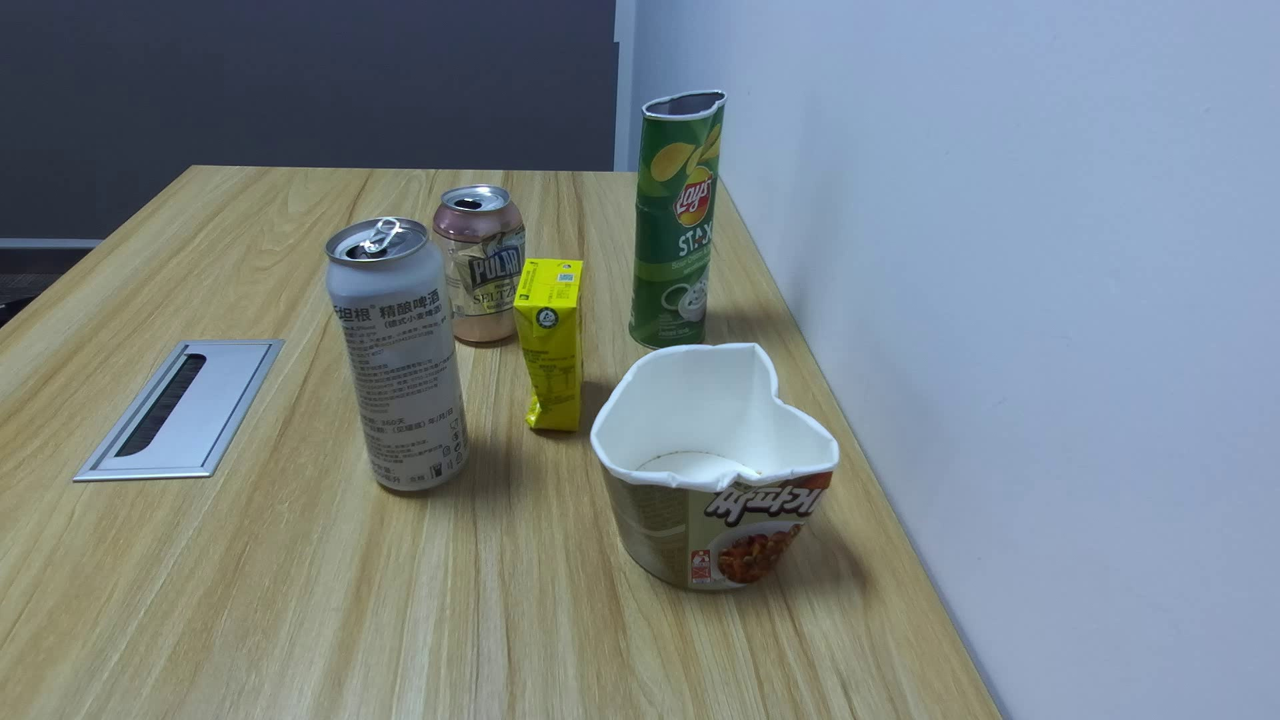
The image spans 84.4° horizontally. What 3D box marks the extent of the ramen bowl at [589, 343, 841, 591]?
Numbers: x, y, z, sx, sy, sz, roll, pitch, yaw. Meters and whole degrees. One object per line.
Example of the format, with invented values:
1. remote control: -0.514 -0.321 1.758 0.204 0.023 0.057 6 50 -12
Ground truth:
1. ramen bowl: 0.033 0.064 0.417 0.134 0.097 0.113 -9 39 -21

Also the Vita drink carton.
1. Vita drink carton: -0.062 -0.008 0.502 0.043 0.109 0.076 2 36 0

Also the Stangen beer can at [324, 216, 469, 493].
1. Stangen beer can: -0.147 0.000 0.431 0.070 0.173 0.069 -27 44 -36

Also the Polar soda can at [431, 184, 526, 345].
1. Polar soda can: -0.134 -0.076 0.591 0.074 0.122 0.067 8 29 2

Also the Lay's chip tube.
1. Lay's chip tube: 0.029 -0.107 0.572 0.069 0.199 0.074 1 35 -3
